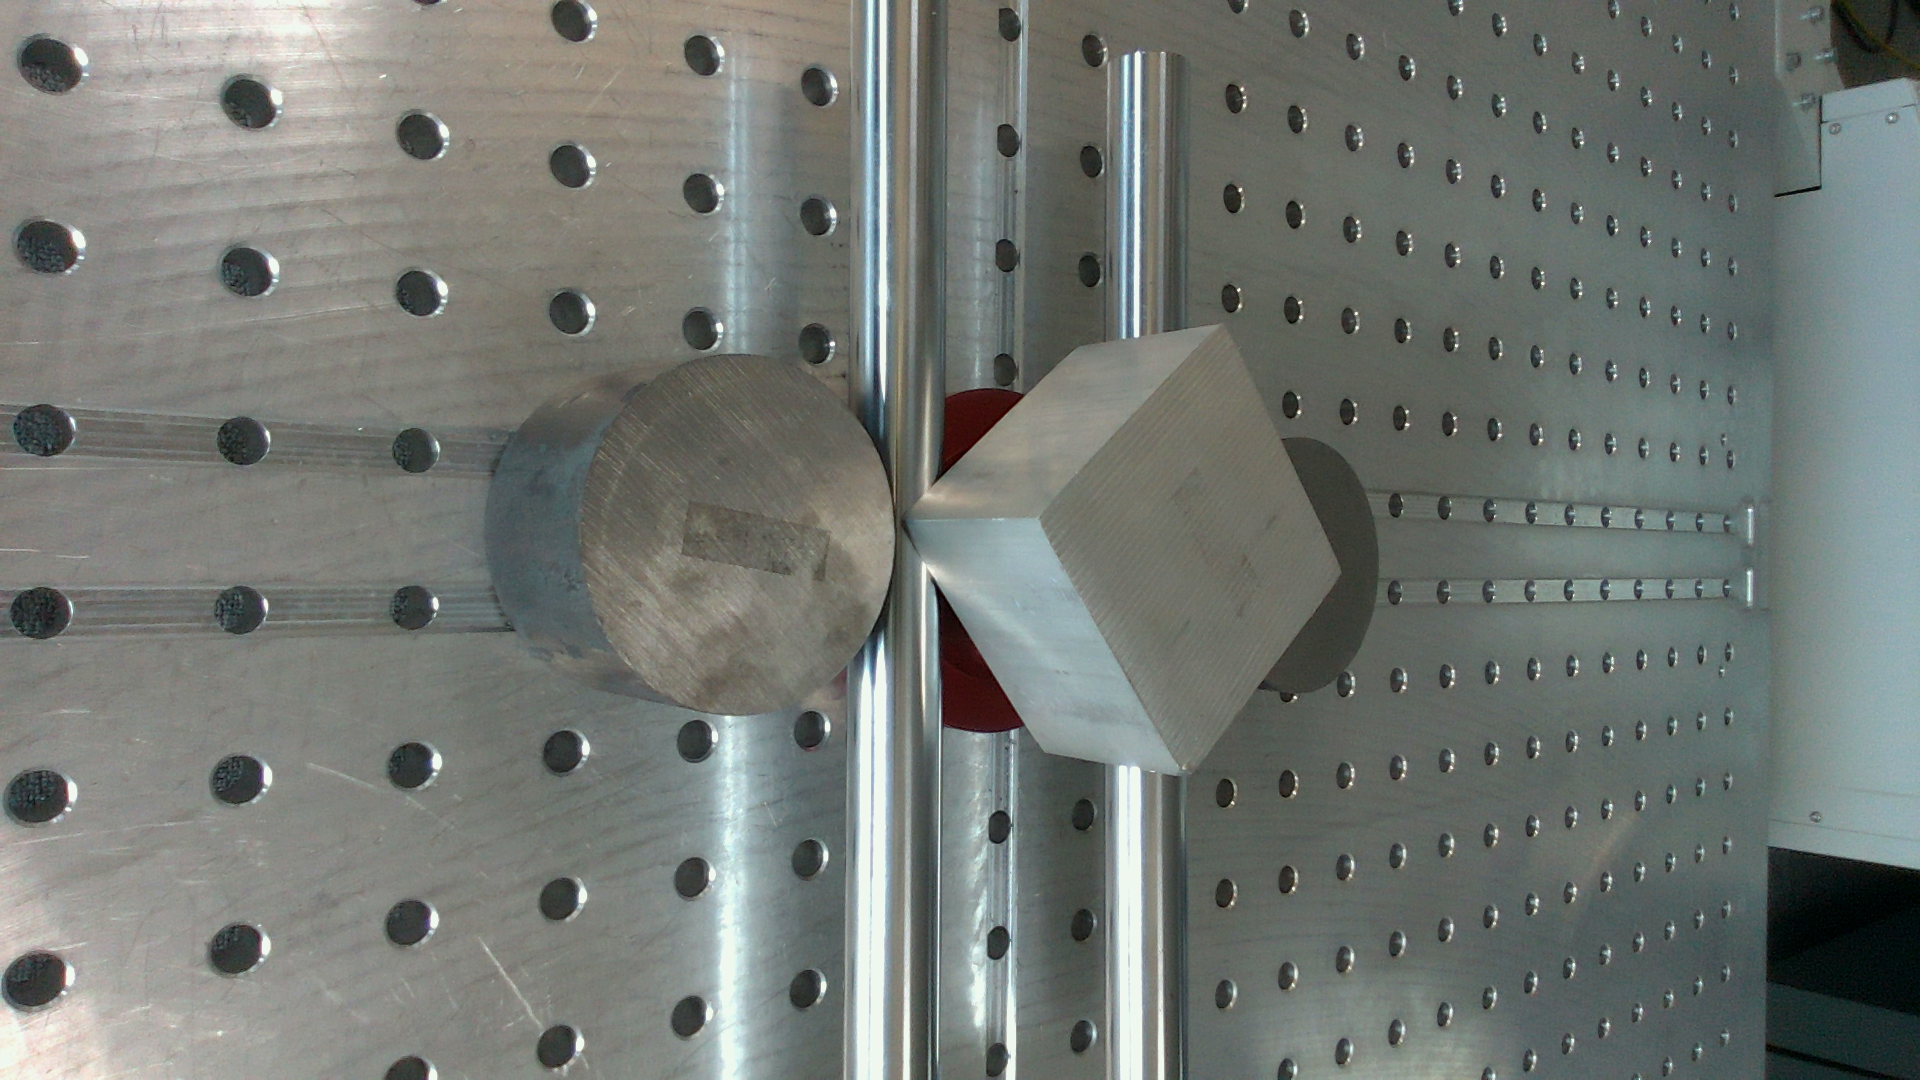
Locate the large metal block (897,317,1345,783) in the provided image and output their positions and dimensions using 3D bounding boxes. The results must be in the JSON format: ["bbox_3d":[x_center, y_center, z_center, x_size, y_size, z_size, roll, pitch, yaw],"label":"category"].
[{"bbox_3d":[0.044,0.002,0.351,0.080,0.050,0.080,-46,117,-30],"label":"large metal block"}]

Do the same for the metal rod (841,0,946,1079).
[{"bbox_3d":[-0.017,0.011,0.350,0.025,0.025,0.300,1,90,-40],"label":"metal rod"}]

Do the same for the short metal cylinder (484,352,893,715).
[{"bbox_3d":[-0.063,-0.001,0.323,0.080,0.050,0.080,0,90,-40],"label":"short metal cylinder"}]

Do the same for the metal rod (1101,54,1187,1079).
[{"bbox_3d":[0.055,0.009,0.410,0.025,0.025,0.300,0,90,-40],"label":"metal rod"}]

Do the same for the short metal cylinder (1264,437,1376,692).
[{"bbox_3d":[0.092,0.008,0.451,0.080,0.050,0.080,0,90,-40],"label":"short metal cylinder"}]

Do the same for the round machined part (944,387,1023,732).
[{"bbox_3d":[0.010,0.005,0.390,0.098,0.042,0.098,0,90,-40],"label":"round machined part"}]
